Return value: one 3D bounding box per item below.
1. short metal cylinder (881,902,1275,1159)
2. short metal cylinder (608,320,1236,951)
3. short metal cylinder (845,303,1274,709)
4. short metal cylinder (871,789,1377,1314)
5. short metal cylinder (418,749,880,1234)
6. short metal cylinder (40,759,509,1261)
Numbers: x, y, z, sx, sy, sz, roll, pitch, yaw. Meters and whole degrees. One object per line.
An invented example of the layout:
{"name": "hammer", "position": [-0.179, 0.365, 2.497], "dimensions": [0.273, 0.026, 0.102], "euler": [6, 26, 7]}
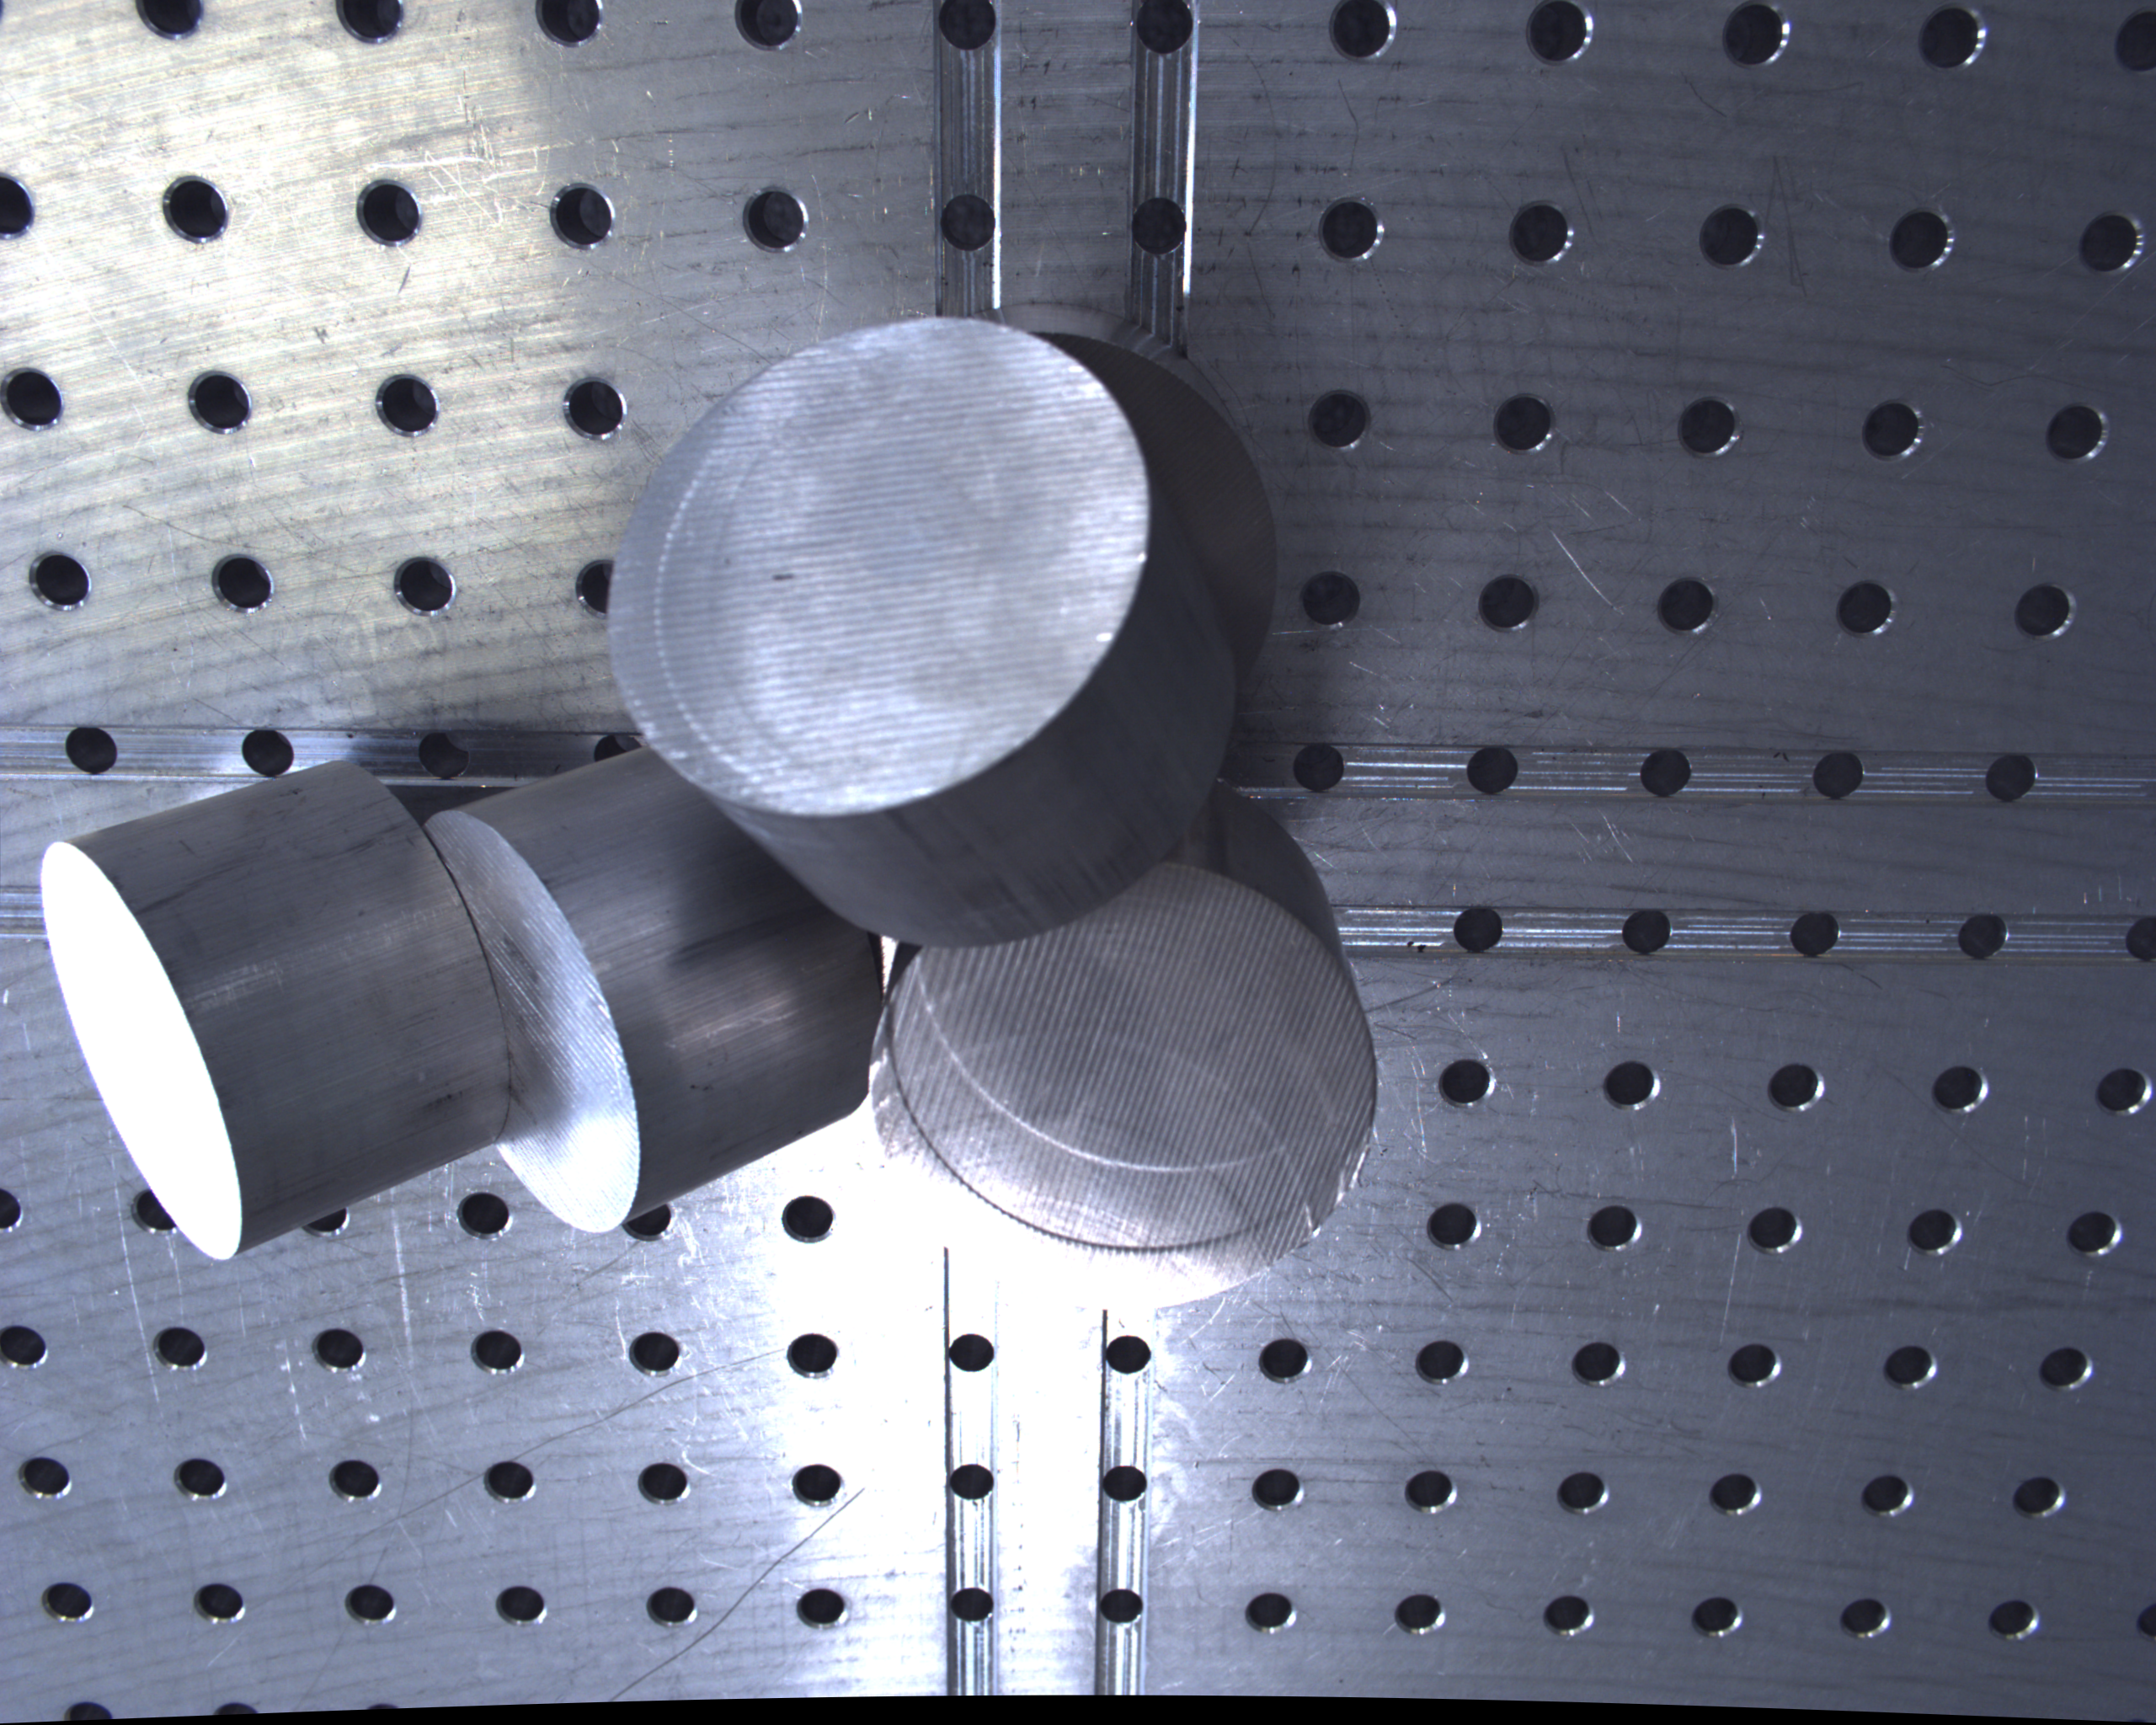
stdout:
{"name": "short metal cylinder", "position": [-0.002, 0.017, 0.405], "dimensions": [0.081, 0.050, 0.079], "euler": [0, 110, 0]}
{"name": "short metal cylinder", "position": [-0.021, -0.033, 0.311], "dimensions": [0.080, 0.080, 0.050], "euler": [-23, 152, 8]}
{"name": "short metal cylinder", "position": [-0.007, -0.058, 0.378], "dimensions": [0.081, 0.050, 0.079], "euler": [0, 110, 0]}
{"name": "short metal cylinder", "position": [0.007, 0.029, 0.355], "dimensions": [0.081, 0.050, 0.079], "euler": [0, 110, 0]}
{"name": "short metal cylinder", "position": [-0.080, 0.021, 0.383], "dimensions": [0.050, 0.080, 0.079], "euler": [-23, 115, -36]}
{"name": "short metal cylinder", "position": [-0.149, 0.026, 0.385], "dimensions": [0.050, 0.080, 0.079], "euler": [-24, 115, -37]}
